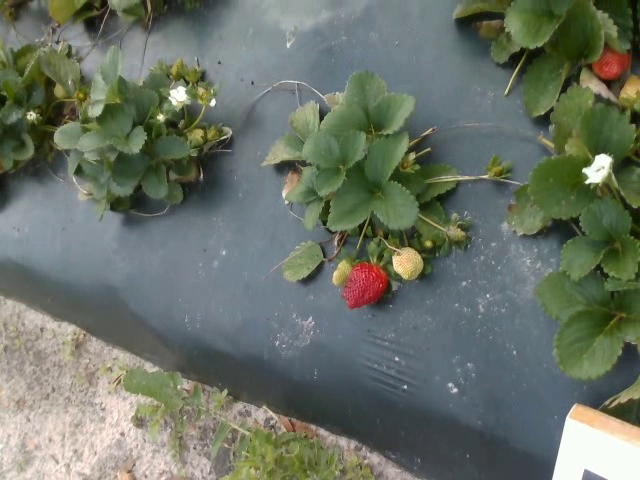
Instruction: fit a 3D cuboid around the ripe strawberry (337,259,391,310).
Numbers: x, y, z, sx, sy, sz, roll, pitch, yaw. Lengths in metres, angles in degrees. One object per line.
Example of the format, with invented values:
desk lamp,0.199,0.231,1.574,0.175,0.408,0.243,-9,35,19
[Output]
ripe strawberry,0.043,0.051,0.619,0.046,0.046,0.059,15,53,39
